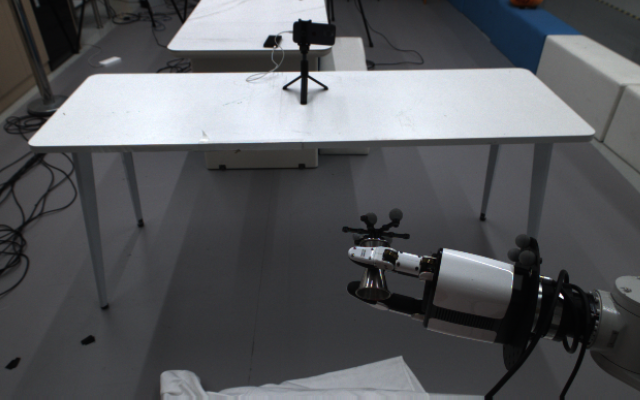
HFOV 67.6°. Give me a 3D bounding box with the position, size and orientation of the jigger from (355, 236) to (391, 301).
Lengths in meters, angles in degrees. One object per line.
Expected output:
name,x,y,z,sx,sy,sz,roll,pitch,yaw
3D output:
jigger,0.067,0.085,0.616,0.043,0.043,0.071,5,60,5
